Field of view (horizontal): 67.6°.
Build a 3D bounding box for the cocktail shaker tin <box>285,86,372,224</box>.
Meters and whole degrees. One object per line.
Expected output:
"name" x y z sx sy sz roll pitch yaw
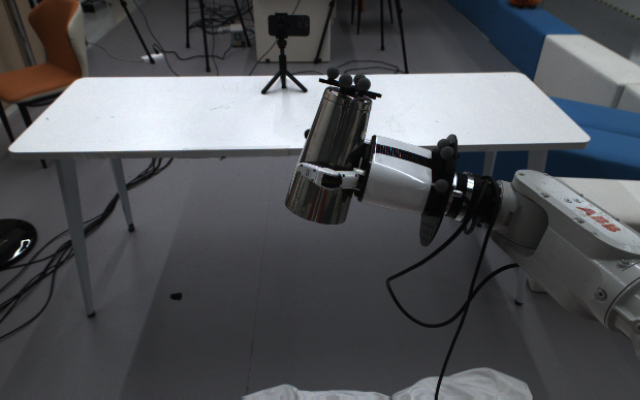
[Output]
"cocktail shaker tin" 0.017 -0.063 0.667 0.093 0.170 0.093 15 20 -5
